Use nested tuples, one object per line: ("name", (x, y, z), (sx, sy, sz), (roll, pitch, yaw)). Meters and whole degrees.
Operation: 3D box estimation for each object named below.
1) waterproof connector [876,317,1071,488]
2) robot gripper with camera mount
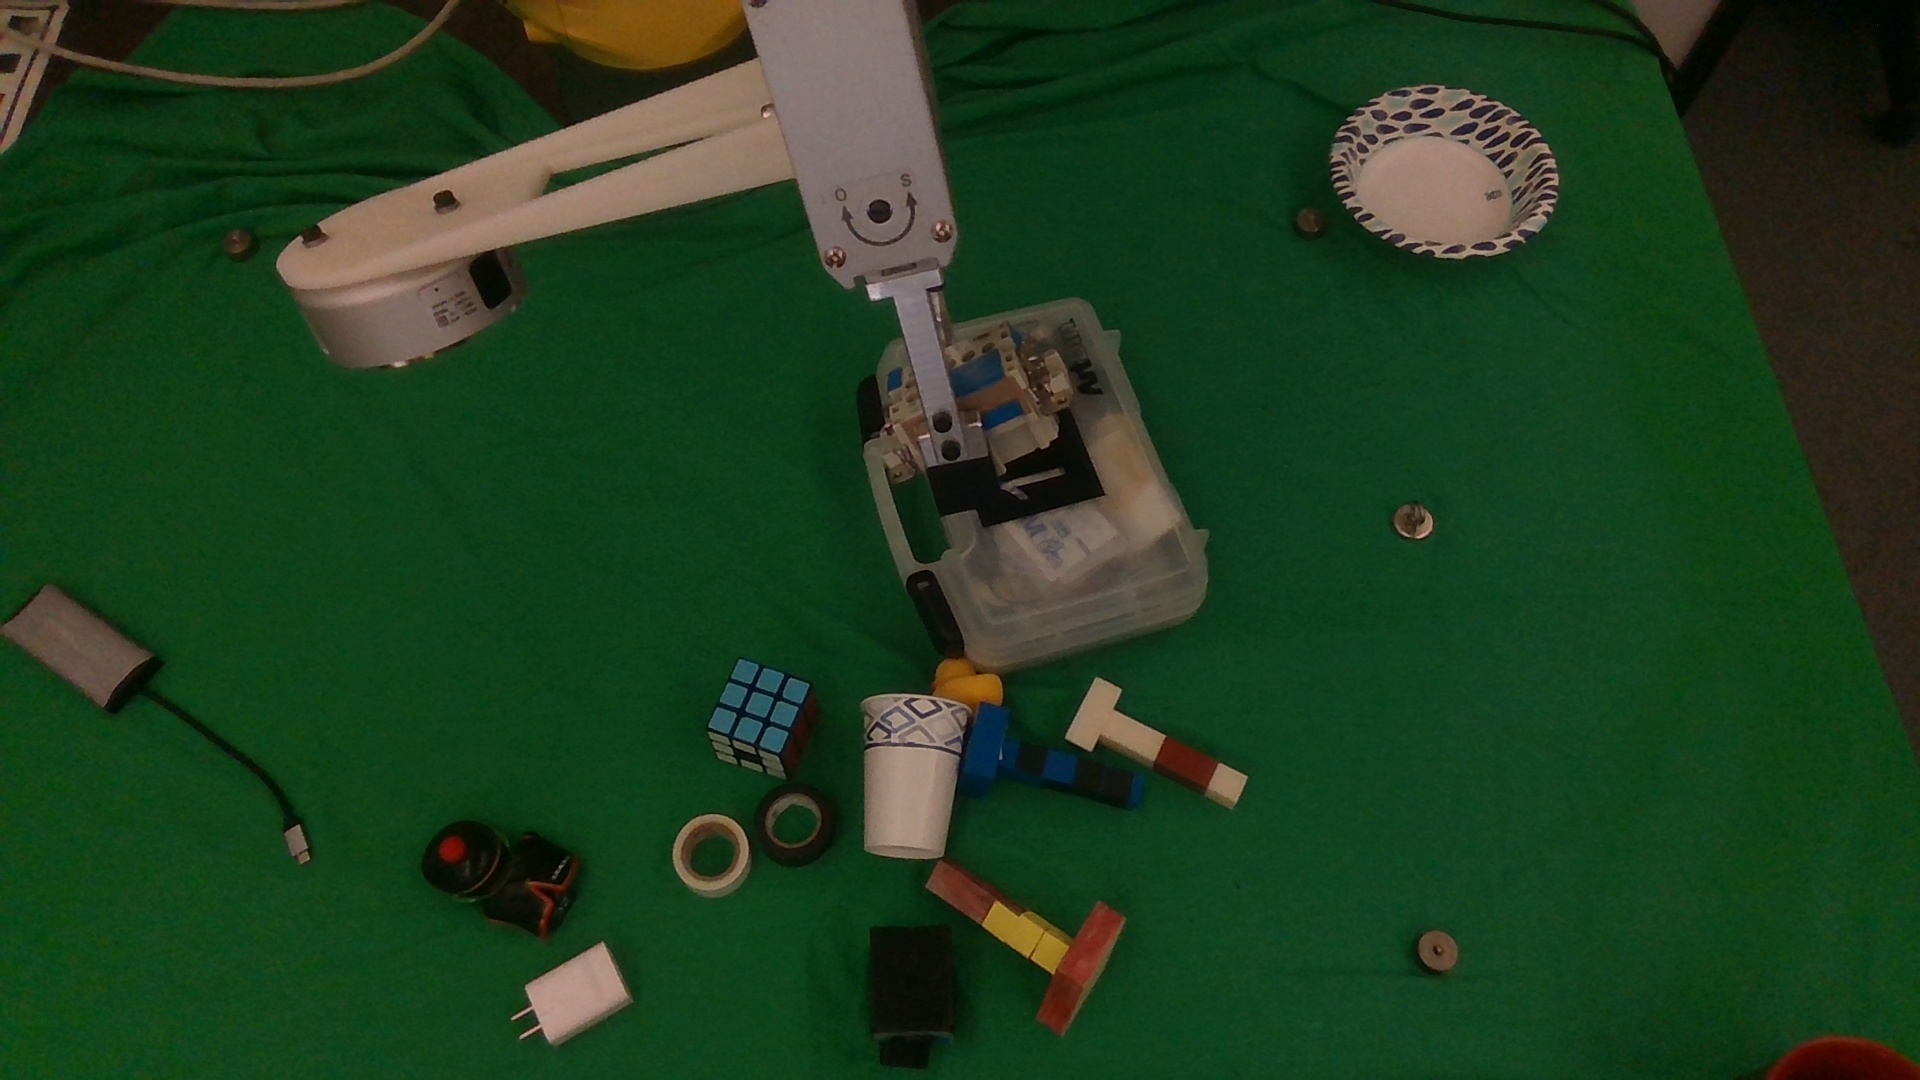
("waterproof connector", (0.003, -0.041, 0.442), (0.065, 0.037, 0.035), (-24, 35, 11))
("robot gripper with camera mount", (-0.087, -0.066, 0.415), (0.193, 0.158, 0.119), (-16, 32, 6))
